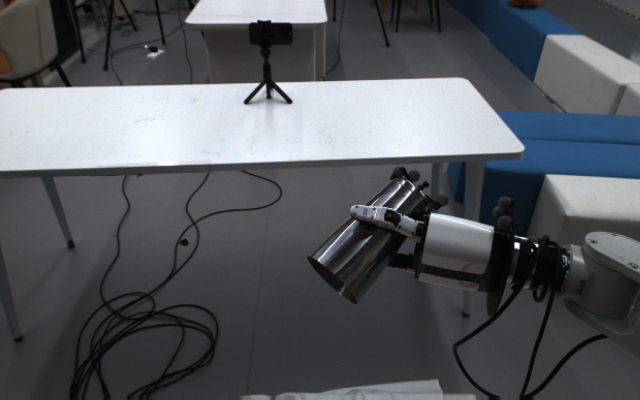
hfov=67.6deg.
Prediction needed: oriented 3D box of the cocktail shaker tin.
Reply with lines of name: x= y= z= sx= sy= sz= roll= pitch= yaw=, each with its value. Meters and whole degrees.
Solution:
cocktail shaker tin: x=0.073 y=0.045 z=0.672 sx=0.170 sy=0.093 sz=0.093 roll=-43 pitch=50 yaw=-14
